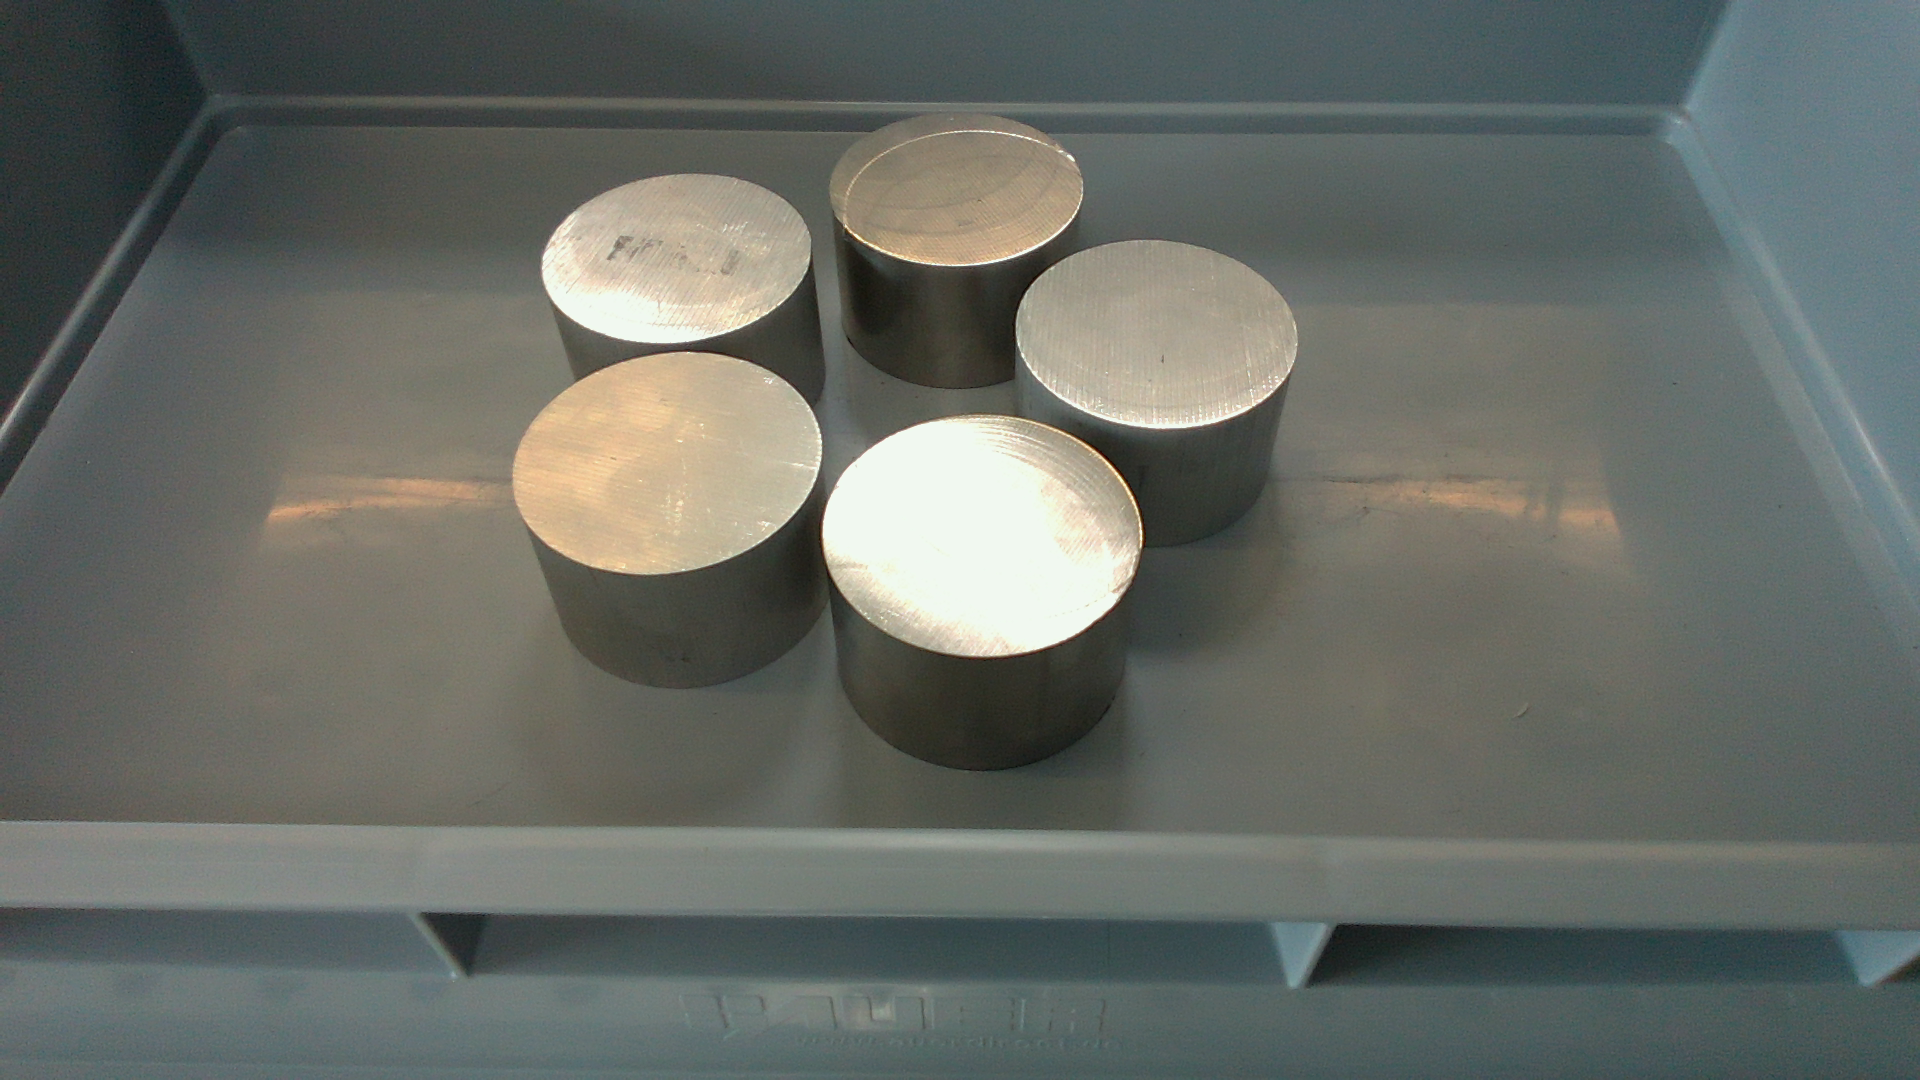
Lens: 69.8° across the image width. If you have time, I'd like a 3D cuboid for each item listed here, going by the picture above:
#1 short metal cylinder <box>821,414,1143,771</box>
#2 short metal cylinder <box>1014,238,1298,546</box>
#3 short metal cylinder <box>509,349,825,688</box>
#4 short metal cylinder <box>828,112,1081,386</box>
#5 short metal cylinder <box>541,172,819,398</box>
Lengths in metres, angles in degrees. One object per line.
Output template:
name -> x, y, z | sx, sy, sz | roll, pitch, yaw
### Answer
short metal cylinder -> 0.006, 0.013, 0.362 | 0.080, 0.050, 0.080 | 0, 50, 0
short metal cylinder -> 0.056, -0.045, 0.411 | 0.080, 0.050, 0.080 | 0, 50, 0
short metal cylinder -> -0.077, -0.007, 0.379 | 0.080, 0.050, 0.080 | 0, 50, 0
short metal cylinder -> -0.002, -0.097, 0.455 | 0.080, 0.050, 0.080 | 0, 50, 0
short metal cylinder -> -0.085, -0.071, 0.433 | 0.080, 0.050, 0.080 | 0, 50, 0
